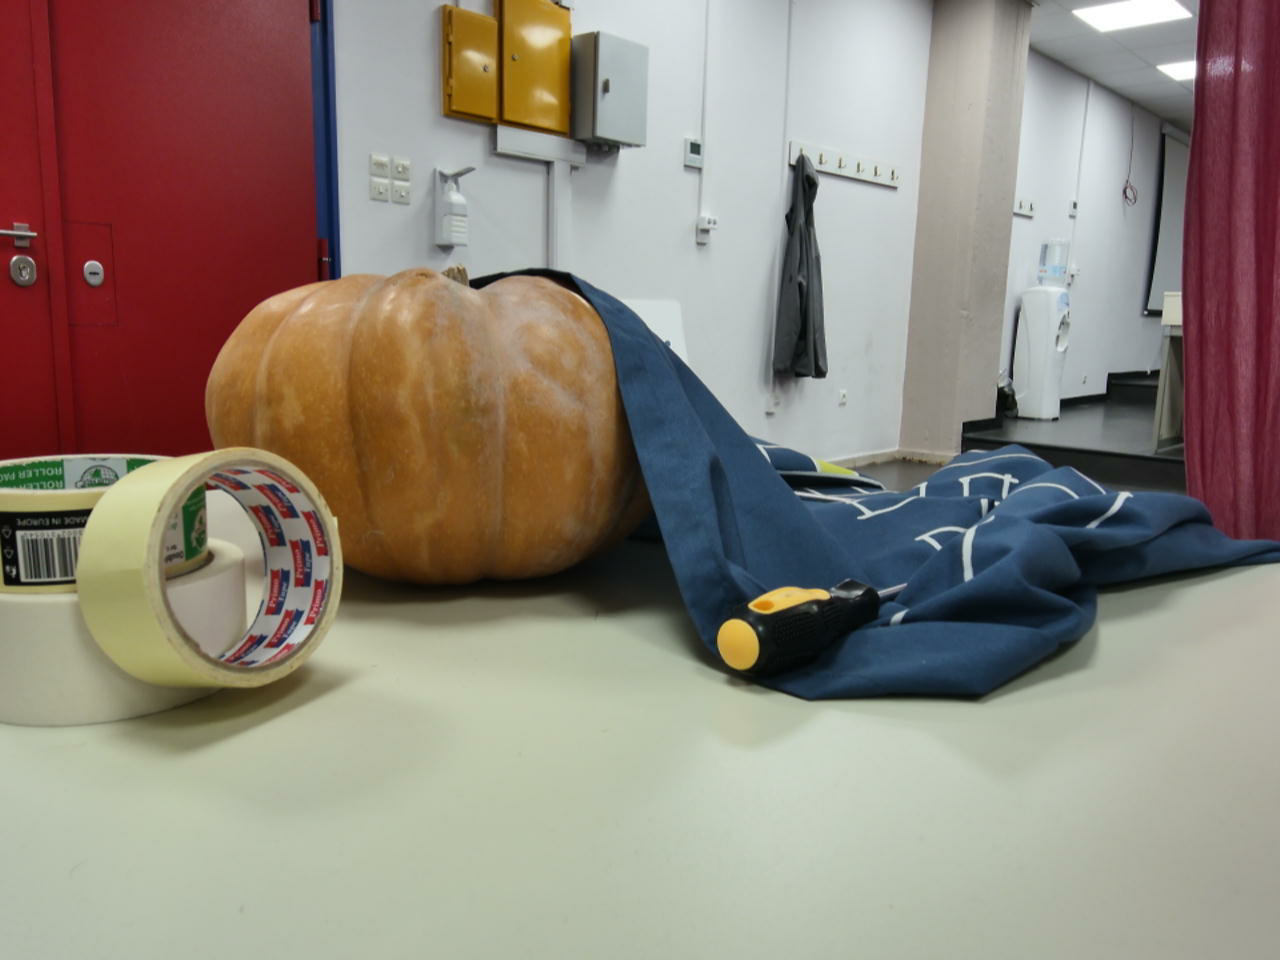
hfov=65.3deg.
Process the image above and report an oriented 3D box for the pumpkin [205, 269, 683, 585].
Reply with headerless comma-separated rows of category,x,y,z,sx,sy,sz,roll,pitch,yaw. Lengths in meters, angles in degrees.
pumpkin,-0.111,-0.035,0.598,0.277,0.181,0.277,0,8,0
